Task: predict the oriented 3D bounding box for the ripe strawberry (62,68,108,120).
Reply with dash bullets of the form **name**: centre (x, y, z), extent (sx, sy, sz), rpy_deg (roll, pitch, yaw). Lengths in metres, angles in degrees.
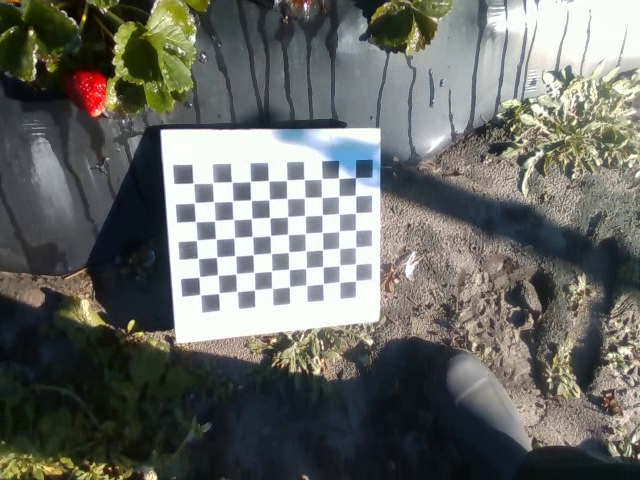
- **ripe strawberry**: centre (-0.210, -0.133, 0.550), extent (0.042, 0.052, 0.047), rpy_deg (-11, -25, -16)
